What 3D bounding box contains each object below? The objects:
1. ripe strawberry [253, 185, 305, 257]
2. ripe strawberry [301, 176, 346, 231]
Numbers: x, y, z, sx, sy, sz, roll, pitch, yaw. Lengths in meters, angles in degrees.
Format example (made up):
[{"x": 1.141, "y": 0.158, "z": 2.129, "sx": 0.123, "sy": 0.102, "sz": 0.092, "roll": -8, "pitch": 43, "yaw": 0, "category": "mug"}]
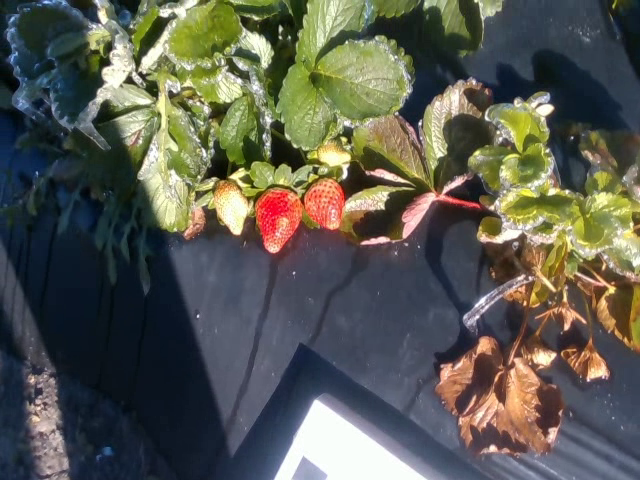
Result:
[{"x": -0.032, "y": -0.009, "z": 0.431, "sx": 0.036, "sy": 0.052, "sz": 0.040, "roll": -11, "pitch": -37, "yaw": 24, "category": "ripe strawberry"}, {"x": 0.005, "y": -0.024, "z": 0.432, "sx": 0.036, "sy": 0.041, "sz": 0.030, "roll": -38, "pitch": -16, "yaw": 22, "category": "ripe strawberry"}]
